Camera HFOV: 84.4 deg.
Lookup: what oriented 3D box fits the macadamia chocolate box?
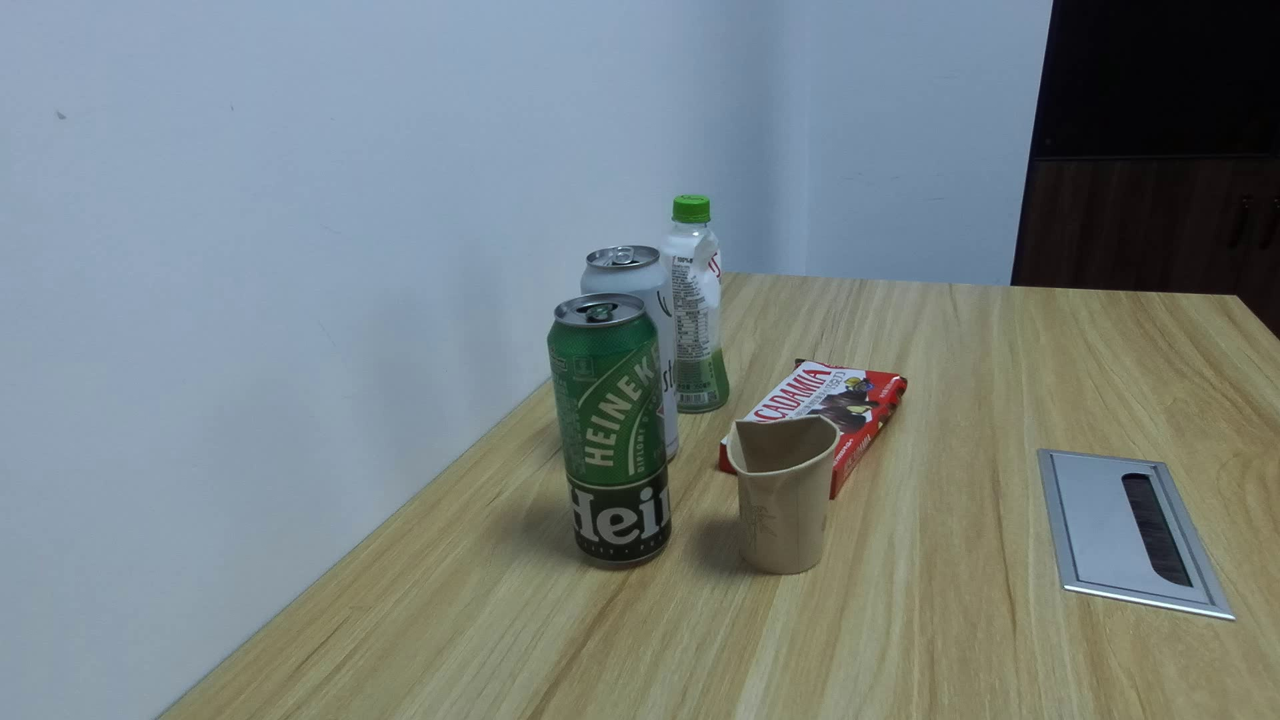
[{"bbox_3d":[0.150,0.047,0.592,0.105,0.028,0.183,12,27,30],"label":"macadamia chocolate box"}]

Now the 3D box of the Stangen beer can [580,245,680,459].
[{"bbox_3d":[-0.005,-0.001,0.552,0.067,0.171,0.067,-4,25,2],"label":"Stangen beer can"}]

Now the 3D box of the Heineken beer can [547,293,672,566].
[{"bbox_3d":[-0.017,0.047,0.447,0.067,0.169,0.067,-4,23,2],"label":"Heineken beer can"}]

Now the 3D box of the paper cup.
[{"bbox_3d":[0.090,0.085,0.440,0.071,0.084,0.066,-5,23,1],"label":"paper cup"}]

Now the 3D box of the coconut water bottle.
[{"bbox_3d":[0.046,-0.050,0.621,0.069,0.187,0.069,-3,22,2],"label":"coconut water bottle"}]
